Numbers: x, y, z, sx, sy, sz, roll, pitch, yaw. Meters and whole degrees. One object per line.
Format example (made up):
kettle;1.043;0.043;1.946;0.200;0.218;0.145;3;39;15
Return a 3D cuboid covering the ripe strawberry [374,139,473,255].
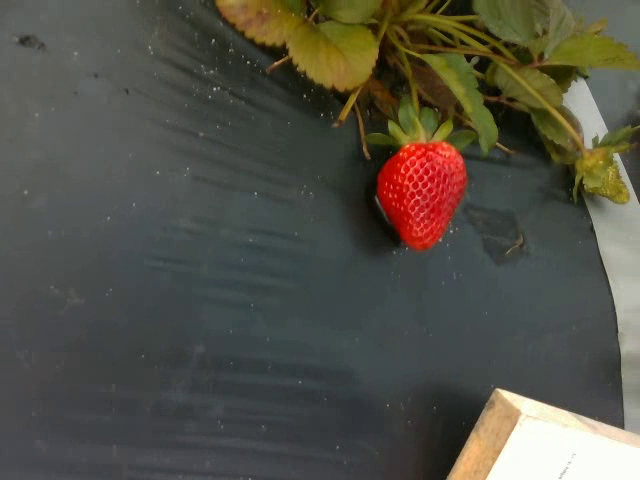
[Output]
ripe strawberry;0.039;-0.017;0.207;0.036;0.046;0.040;9;-33;-4
